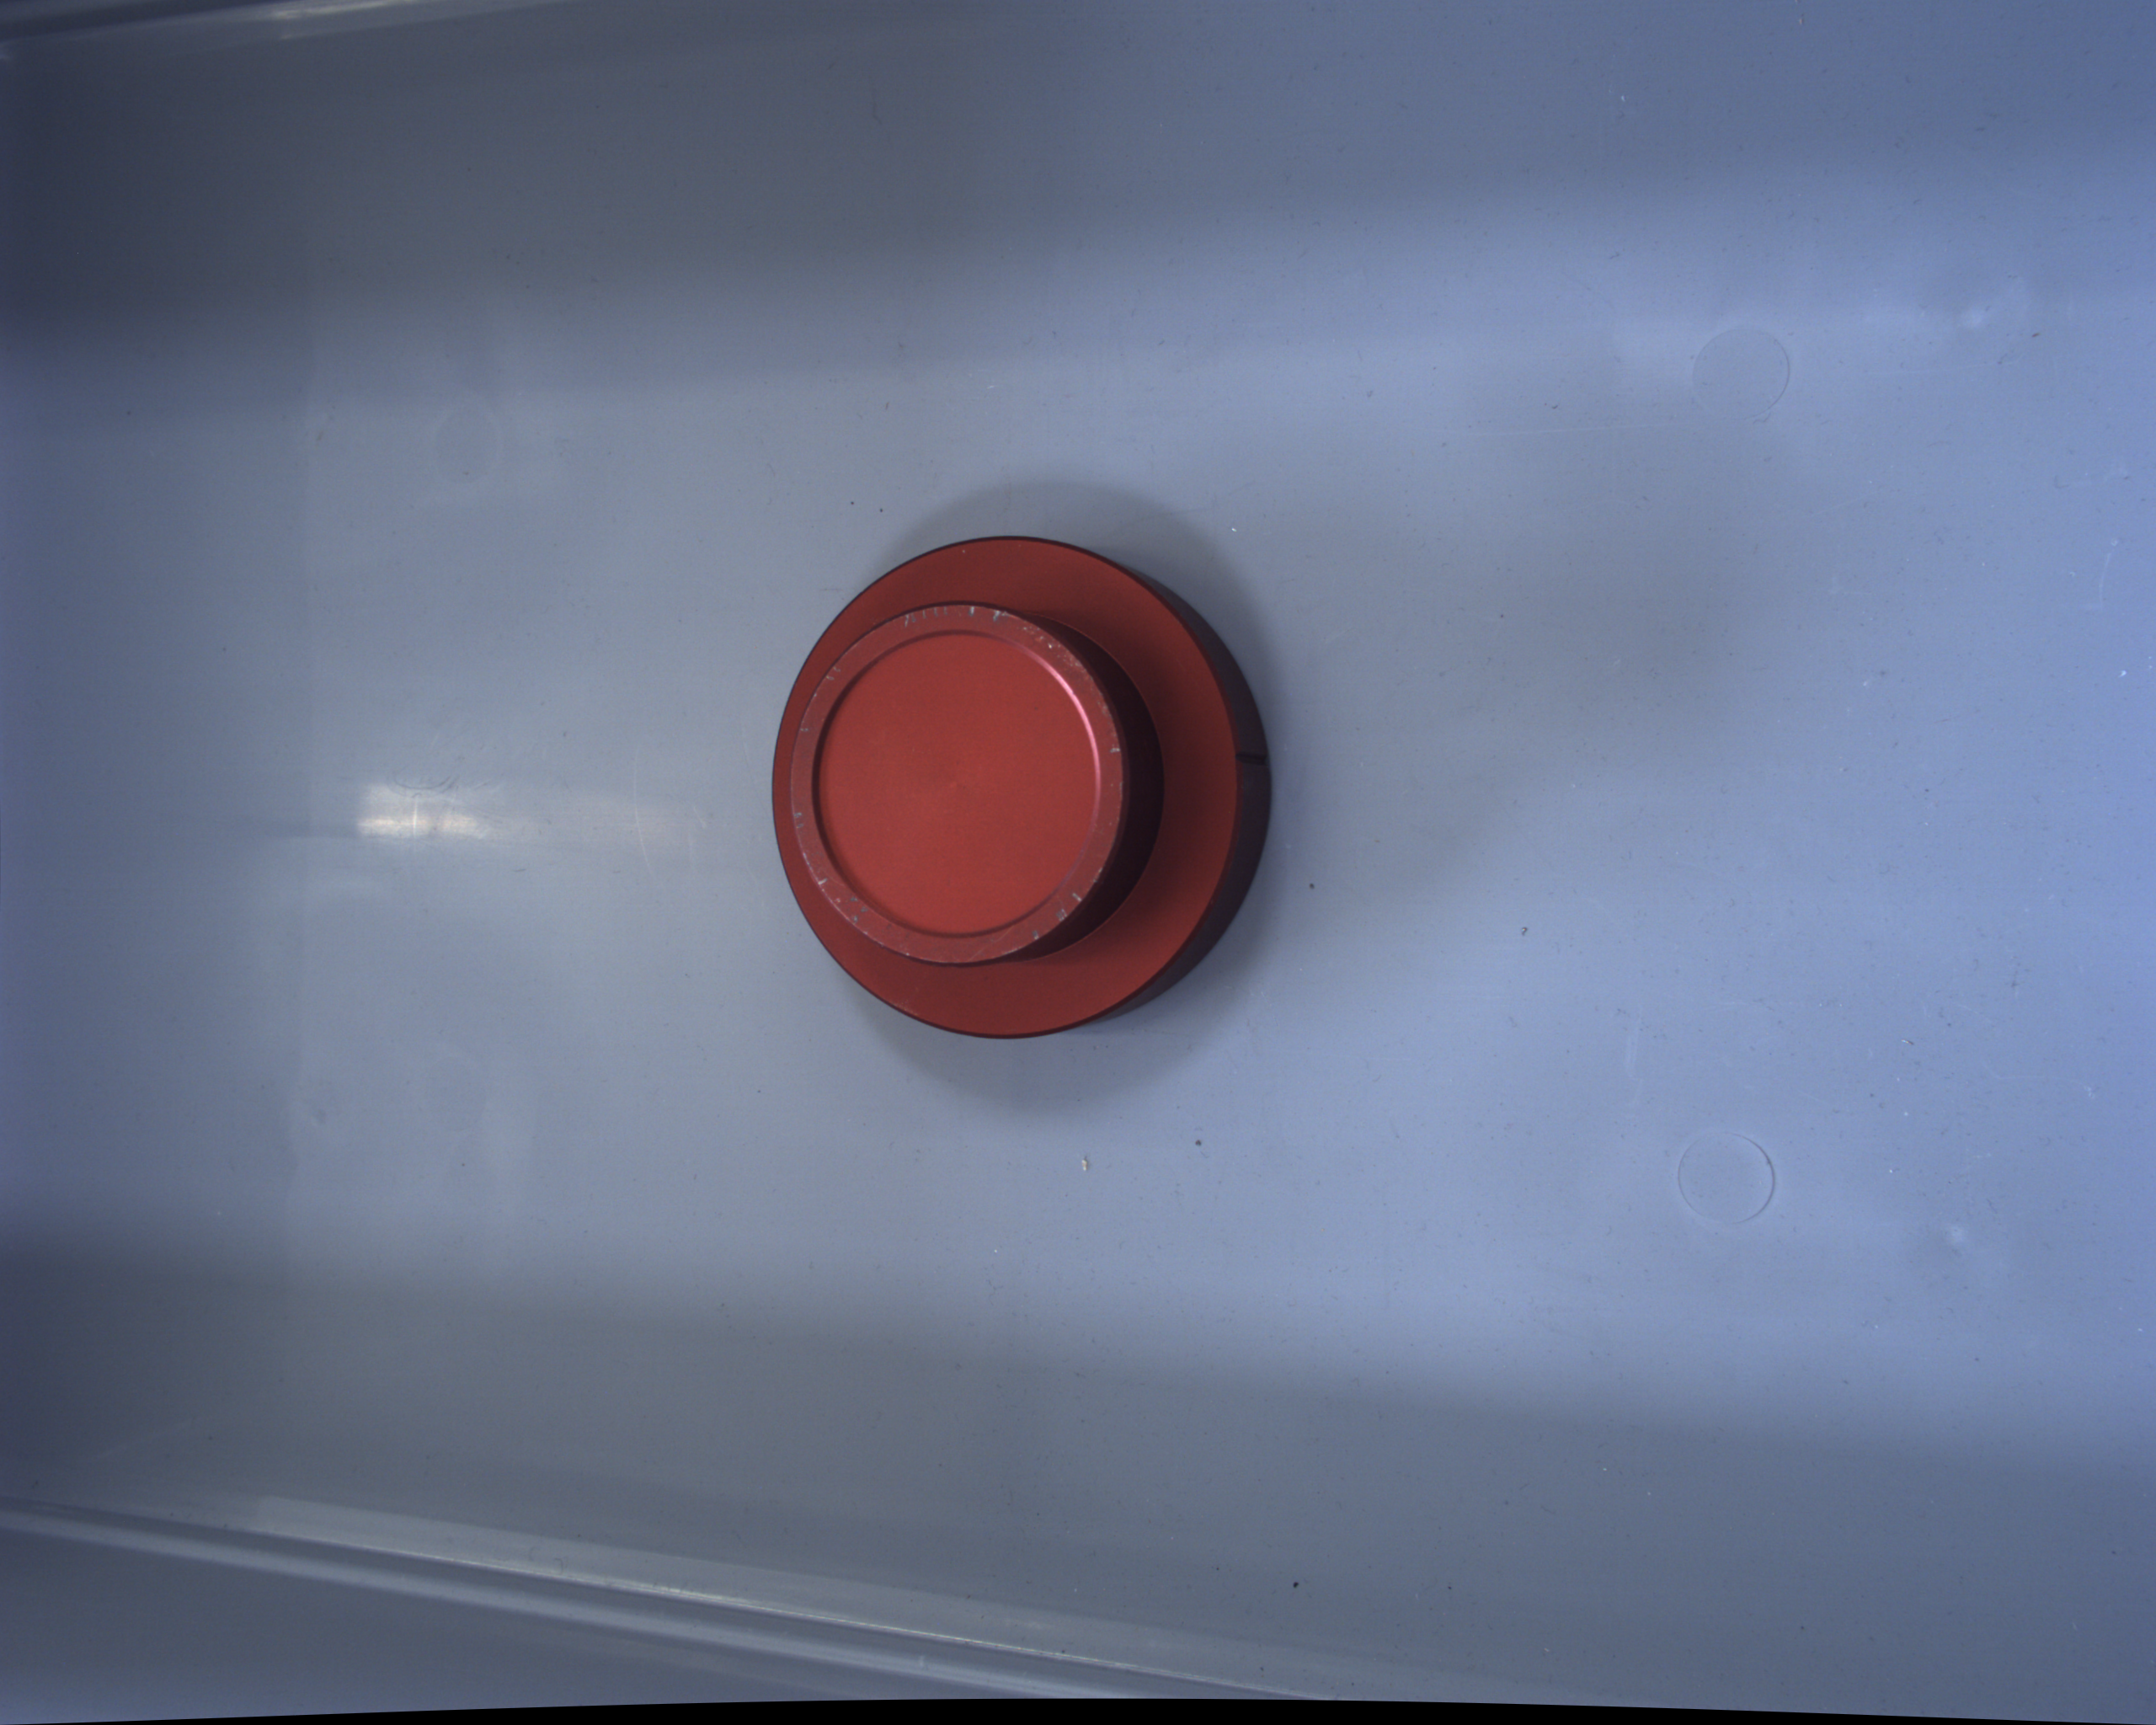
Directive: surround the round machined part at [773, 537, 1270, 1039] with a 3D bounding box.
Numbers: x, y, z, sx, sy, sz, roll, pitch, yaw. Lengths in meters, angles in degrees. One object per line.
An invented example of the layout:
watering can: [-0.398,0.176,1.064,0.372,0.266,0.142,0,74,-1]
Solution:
round machined part: [-0.016,-0.015,0.404,0.098,0.042,0.097,0,90,20]
